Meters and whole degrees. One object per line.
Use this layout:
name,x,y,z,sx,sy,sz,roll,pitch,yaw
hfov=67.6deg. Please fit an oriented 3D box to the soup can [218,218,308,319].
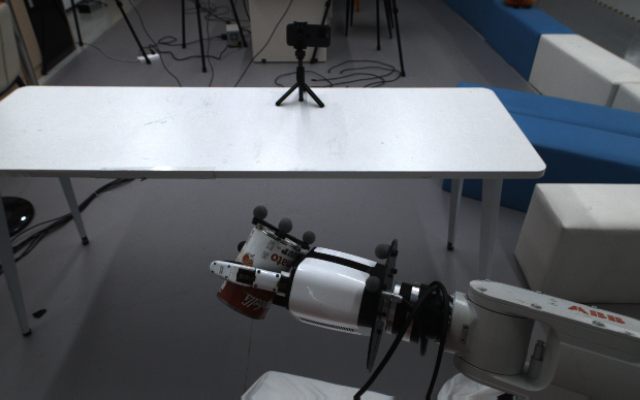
soup can,-0.075,0.090,0.608,0.067,0.101,0.067,29,-2,1
